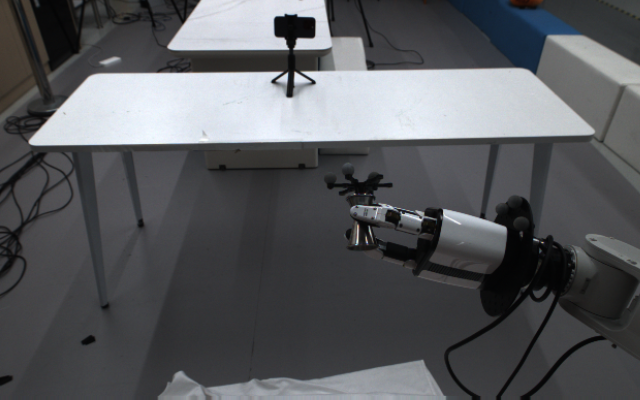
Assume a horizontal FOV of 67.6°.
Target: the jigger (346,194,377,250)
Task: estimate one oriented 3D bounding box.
[{"bbox_3d":[0.055,0.028,0.632,0.043,0.043,0.071,0,75,-3],"label":"jigger"}]
